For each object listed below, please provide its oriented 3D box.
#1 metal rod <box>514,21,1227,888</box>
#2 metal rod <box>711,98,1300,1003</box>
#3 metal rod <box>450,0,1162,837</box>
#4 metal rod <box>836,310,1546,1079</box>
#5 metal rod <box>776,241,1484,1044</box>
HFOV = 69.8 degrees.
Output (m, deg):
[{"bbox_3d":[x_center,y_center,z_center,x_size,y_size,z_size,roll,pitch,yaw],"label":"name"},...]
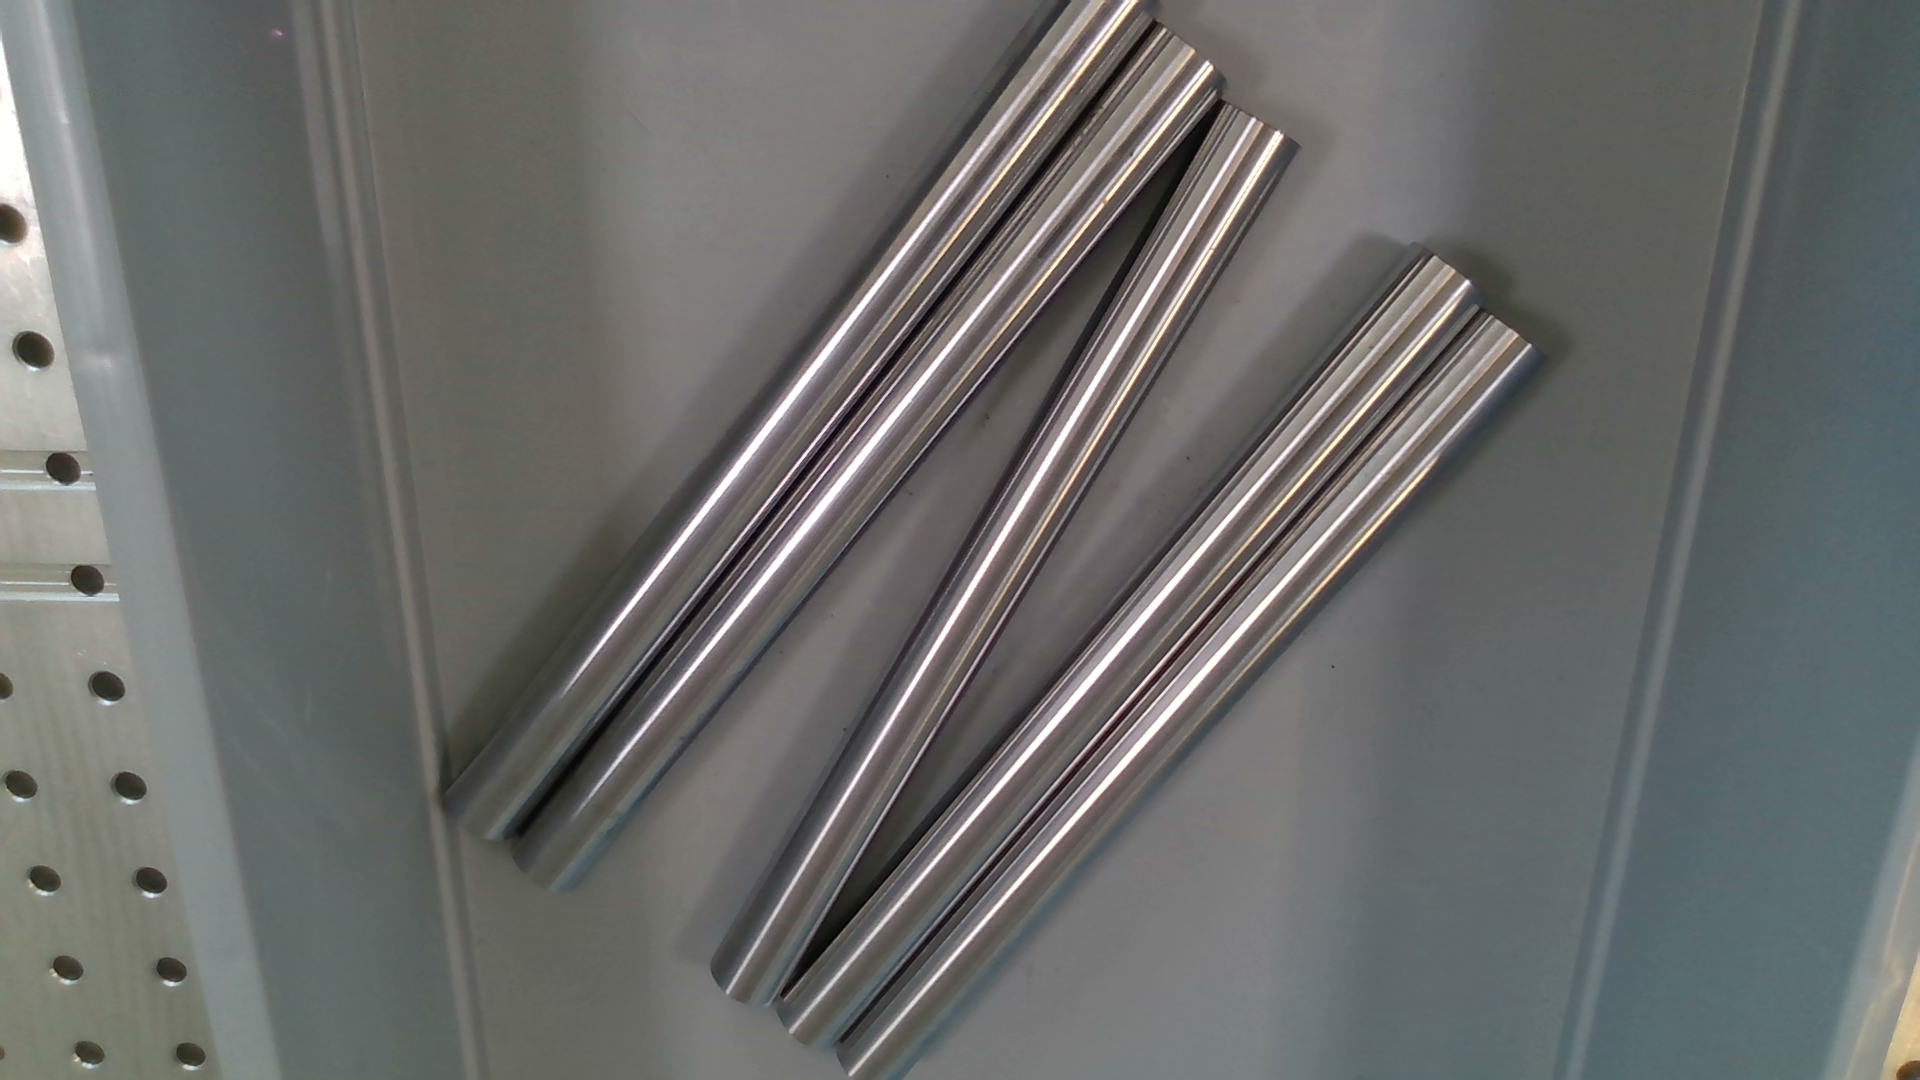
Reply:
[{"bbox_3d":[-0.035,-0.012,0.388,0.025,0.025,0.300,36,106,-12],"label":"metal rod"},{"bbox_3d":[0.004,0.016,0.399,0.025,0.025,0.300,27,108,-10],"label":"metal rod"},{"bbox_3d":[-0.052,-0.029,0.382,0.025,0.025,0.300,36,106,-12],"label":"metal rod"},{"bbox_3d":[0.058,0.057,0.414,0.025,0.025,0.300,35,106,-12],"label":"metal rod"},{"bbox_3d":[0.040,0.041,0.408,0.025,0.025,0.300,35,106,-12],"label":"metal rod"}]
